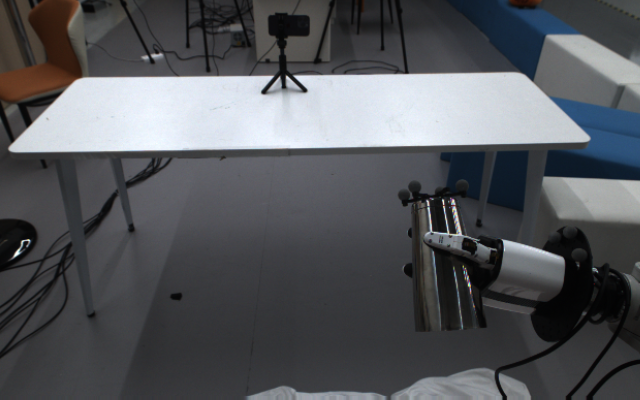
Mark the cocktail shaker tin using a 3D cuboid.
[{"bbox_3d":[0.168,0.085,0.644,0.093,0.093,0.170,-3,72,-8],"label":"cocktail shaker tin"}]
